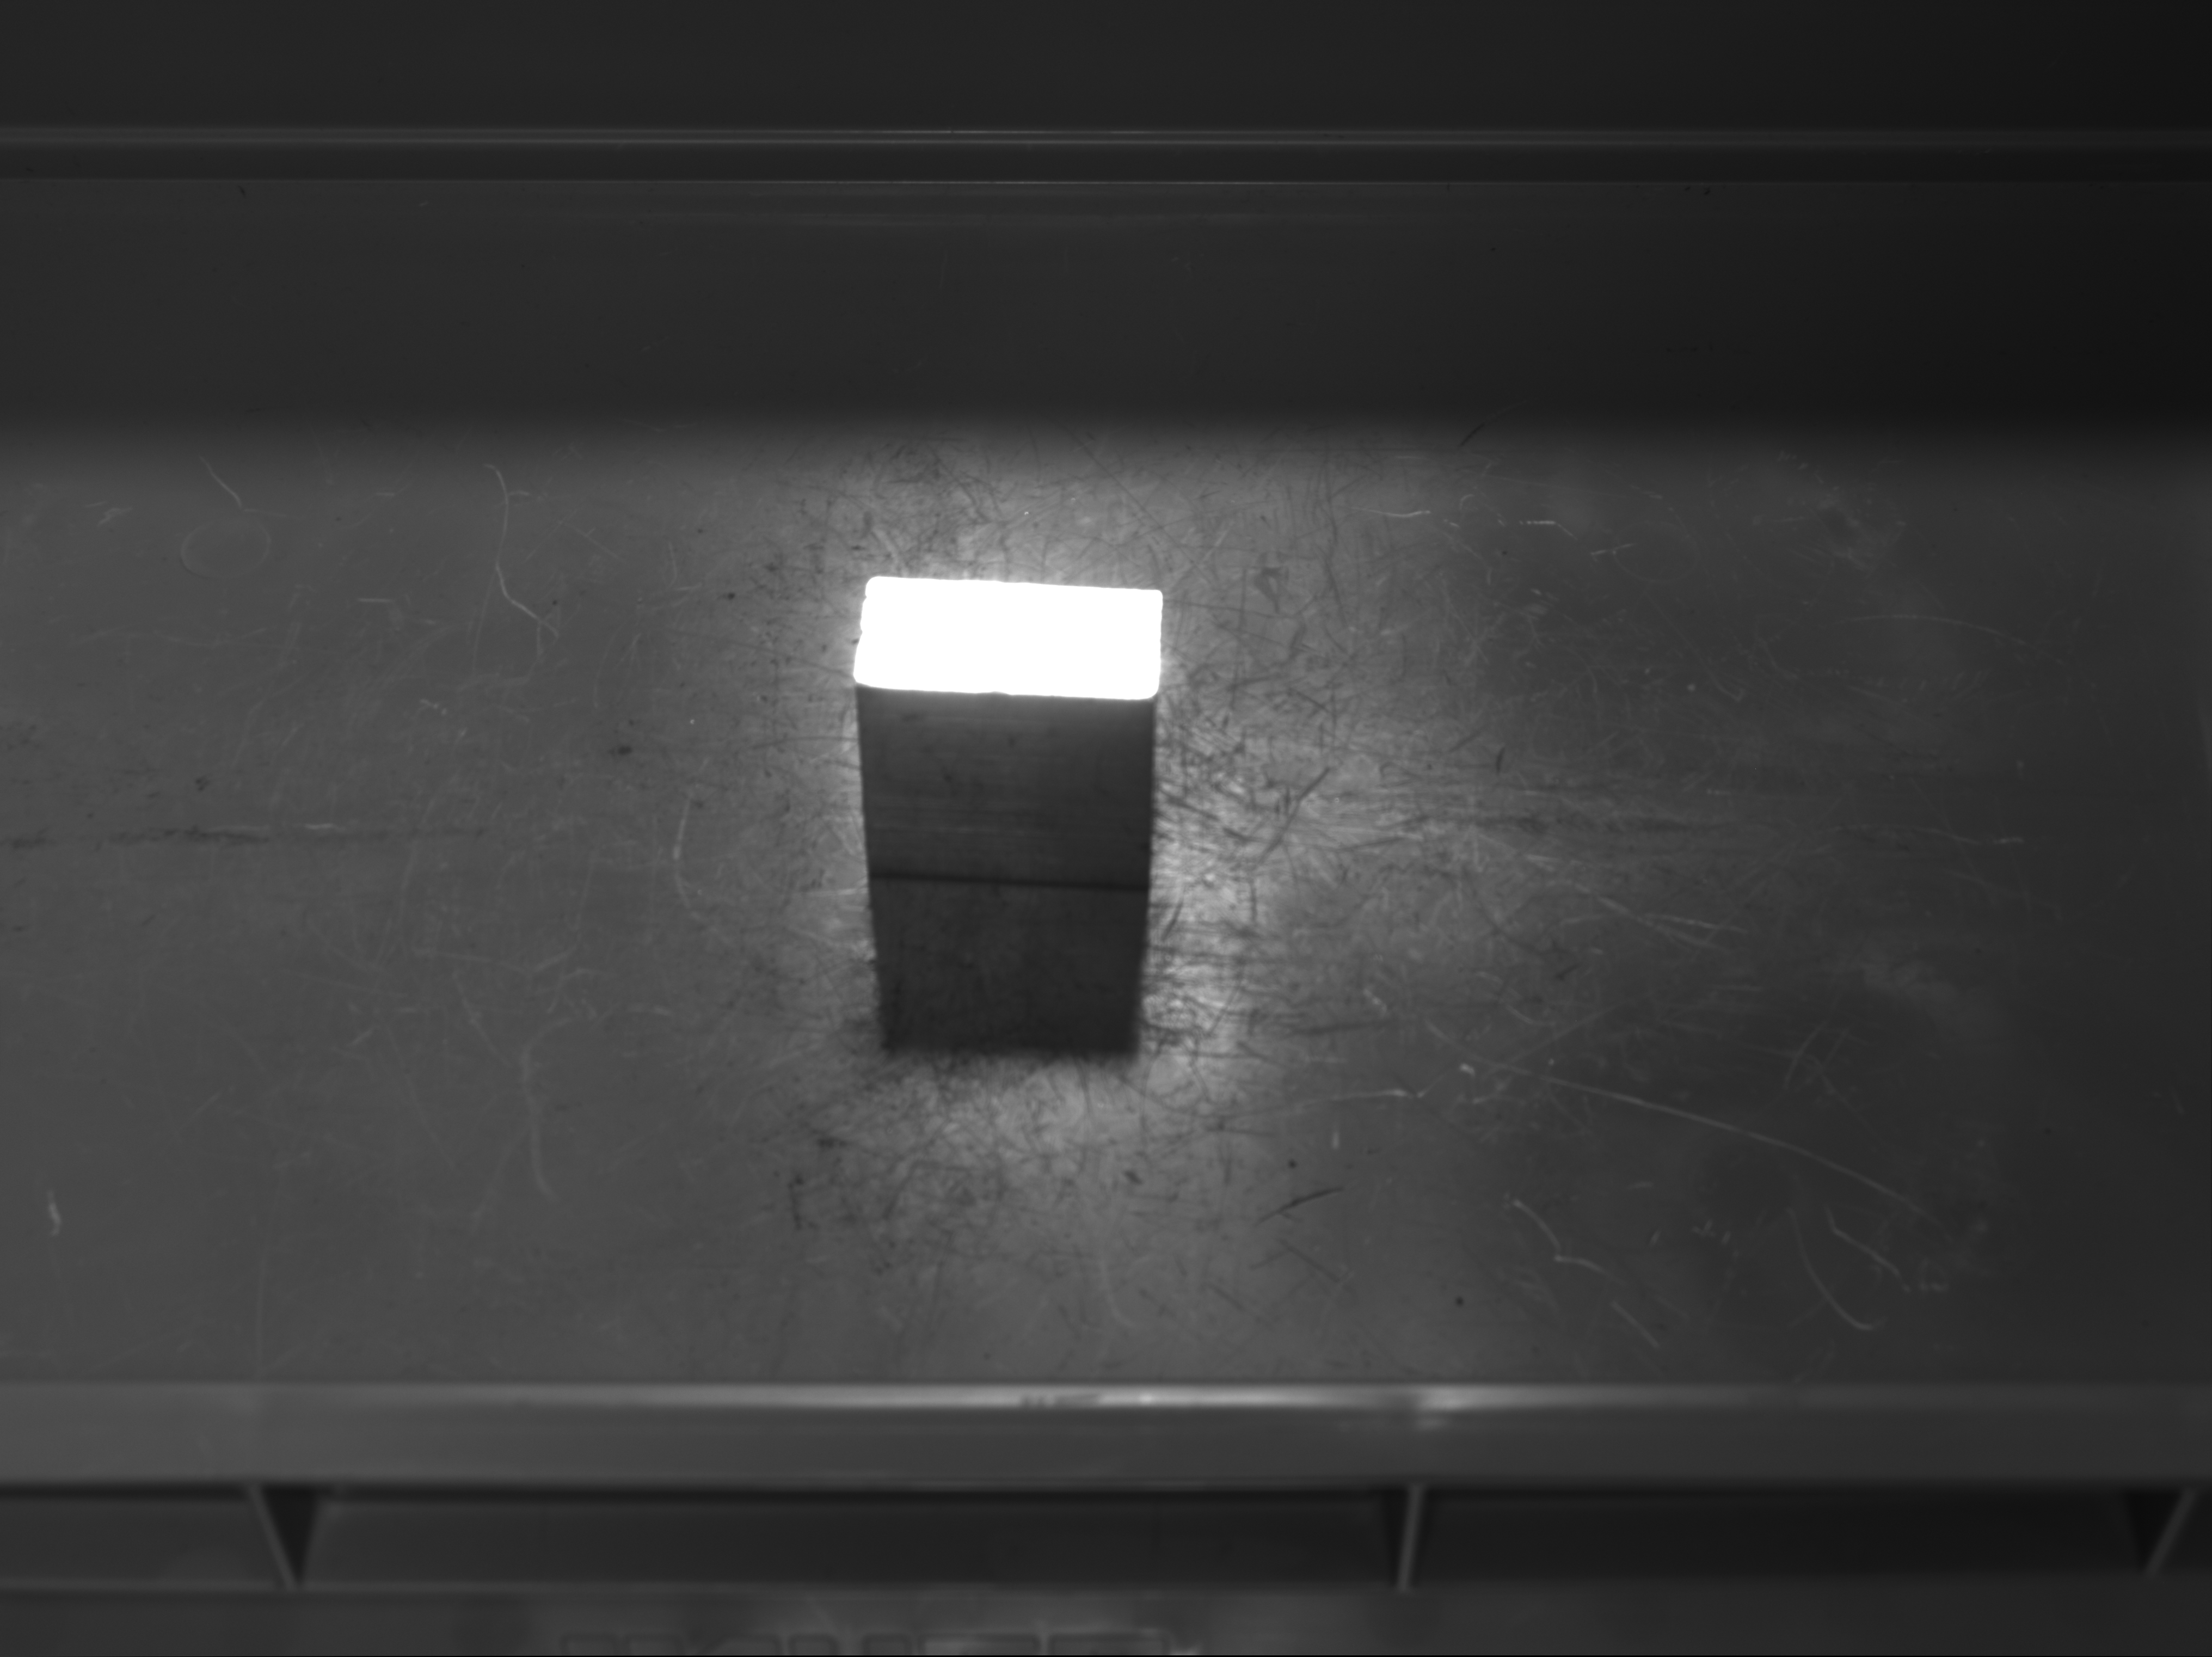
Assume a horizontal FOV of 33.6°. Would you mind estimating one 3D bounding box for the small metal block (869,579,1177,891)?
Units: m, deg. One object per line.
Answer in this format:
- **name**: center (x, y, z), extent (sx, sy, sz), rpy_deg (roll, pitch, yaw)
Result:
- **small metal block**: center (-0.014, -0.016, 0.635), extent (0.050, 0.050, 0.025), rpy_deg (2, 50, 2)
